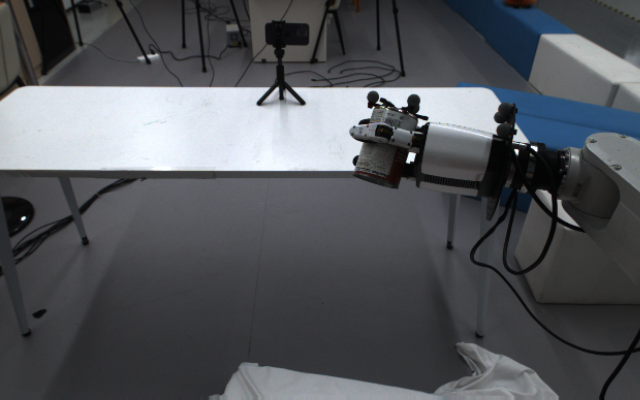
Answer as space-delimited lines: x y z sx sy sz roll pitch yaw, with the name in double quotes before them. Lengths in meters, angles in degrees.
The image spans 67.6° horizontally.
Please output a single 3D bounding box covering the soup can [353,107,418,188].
"soup can" 0.093 -0.075 0.686 0.067 0.101 0.067 18 -2 1
